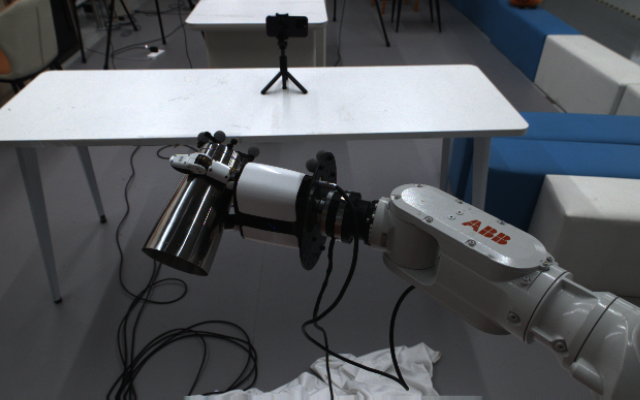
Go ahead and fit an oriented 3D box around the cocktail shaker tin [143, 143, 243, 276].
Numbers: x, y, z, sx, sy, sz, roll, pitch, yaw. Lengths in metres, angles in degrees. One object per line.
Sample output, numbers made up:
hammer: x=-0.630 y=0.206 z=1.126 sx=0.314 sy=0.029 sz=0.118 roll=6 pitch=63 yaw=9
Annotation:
cocktail shaker tin: x=-0.163 y=0.006 z=0.668 sx=0.093 sy=0.093 sz=0.170 roll=12 pitch=66 yaw=15
